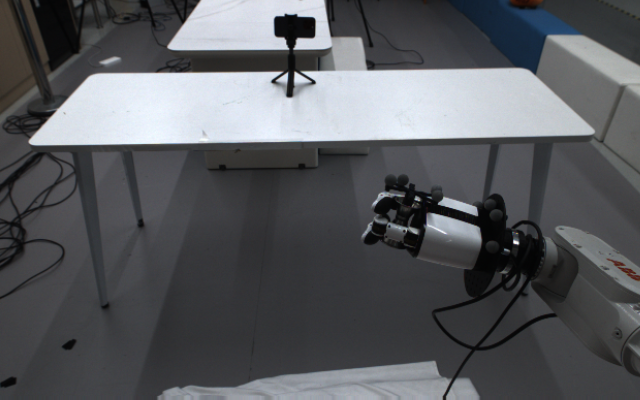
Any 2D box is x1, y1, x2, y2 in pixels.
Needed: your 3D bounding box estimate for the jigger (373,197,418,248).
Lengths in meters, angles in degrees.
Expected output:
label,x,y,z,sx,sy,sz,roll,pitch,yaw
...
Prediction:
label,x,y,z,sx,sy,sz,roll,pitch,yaw
jigger,0.123,0.033,0.731,0.043,0.071,0.043,15,17,-5
